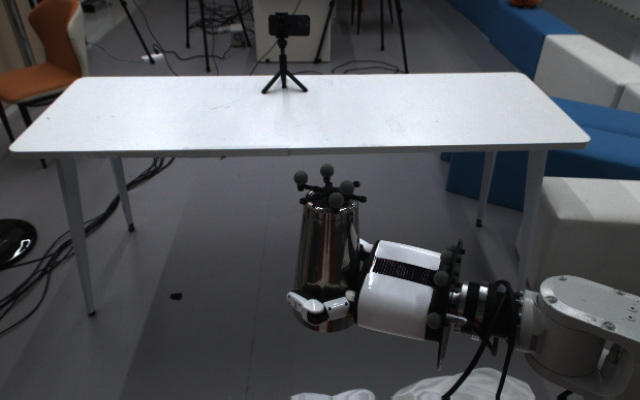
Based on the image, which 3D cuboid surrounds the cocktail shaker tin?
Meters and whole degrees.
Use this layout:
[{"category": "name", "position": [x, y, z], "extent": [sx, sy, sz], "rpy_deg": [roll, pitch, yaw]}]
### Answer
[{"category": "cocktail shaker tin", "position": [0.012, 0.073, 0.620], "extent": [0.093, 0.170, 0.093], "rpy_deg": [1, 28, -1]}]
